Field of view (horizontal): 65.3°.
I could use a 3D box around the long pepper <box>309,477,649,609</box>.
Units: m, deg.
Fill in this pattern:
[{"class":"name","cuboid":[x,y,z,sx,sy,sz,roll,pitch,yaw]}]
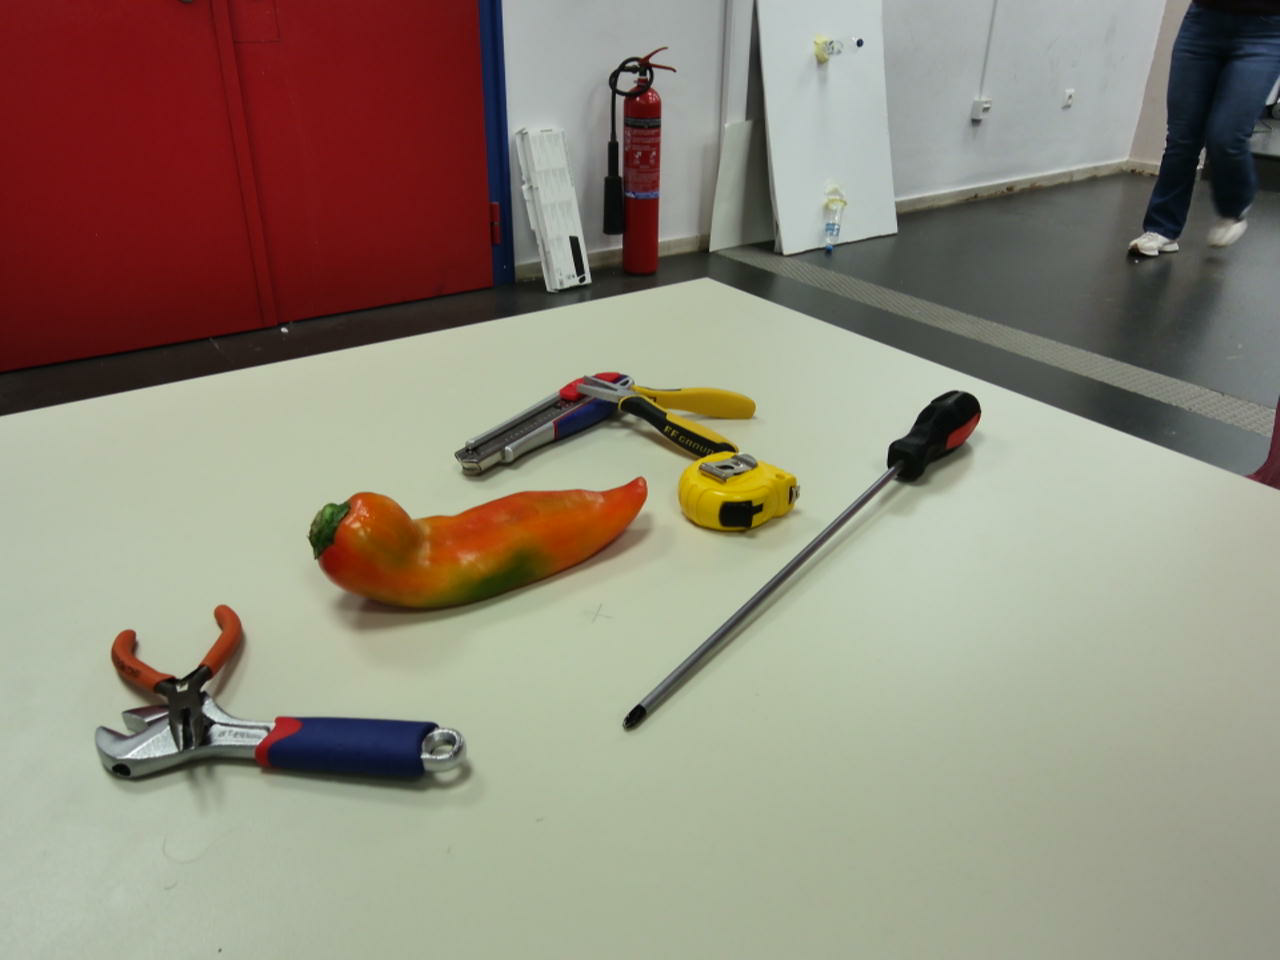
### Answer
[{"class":"long pepper","cuboid":[-0.077,0.021,0.547,0.199,0.065,0.066,-15,30,-28]}]
